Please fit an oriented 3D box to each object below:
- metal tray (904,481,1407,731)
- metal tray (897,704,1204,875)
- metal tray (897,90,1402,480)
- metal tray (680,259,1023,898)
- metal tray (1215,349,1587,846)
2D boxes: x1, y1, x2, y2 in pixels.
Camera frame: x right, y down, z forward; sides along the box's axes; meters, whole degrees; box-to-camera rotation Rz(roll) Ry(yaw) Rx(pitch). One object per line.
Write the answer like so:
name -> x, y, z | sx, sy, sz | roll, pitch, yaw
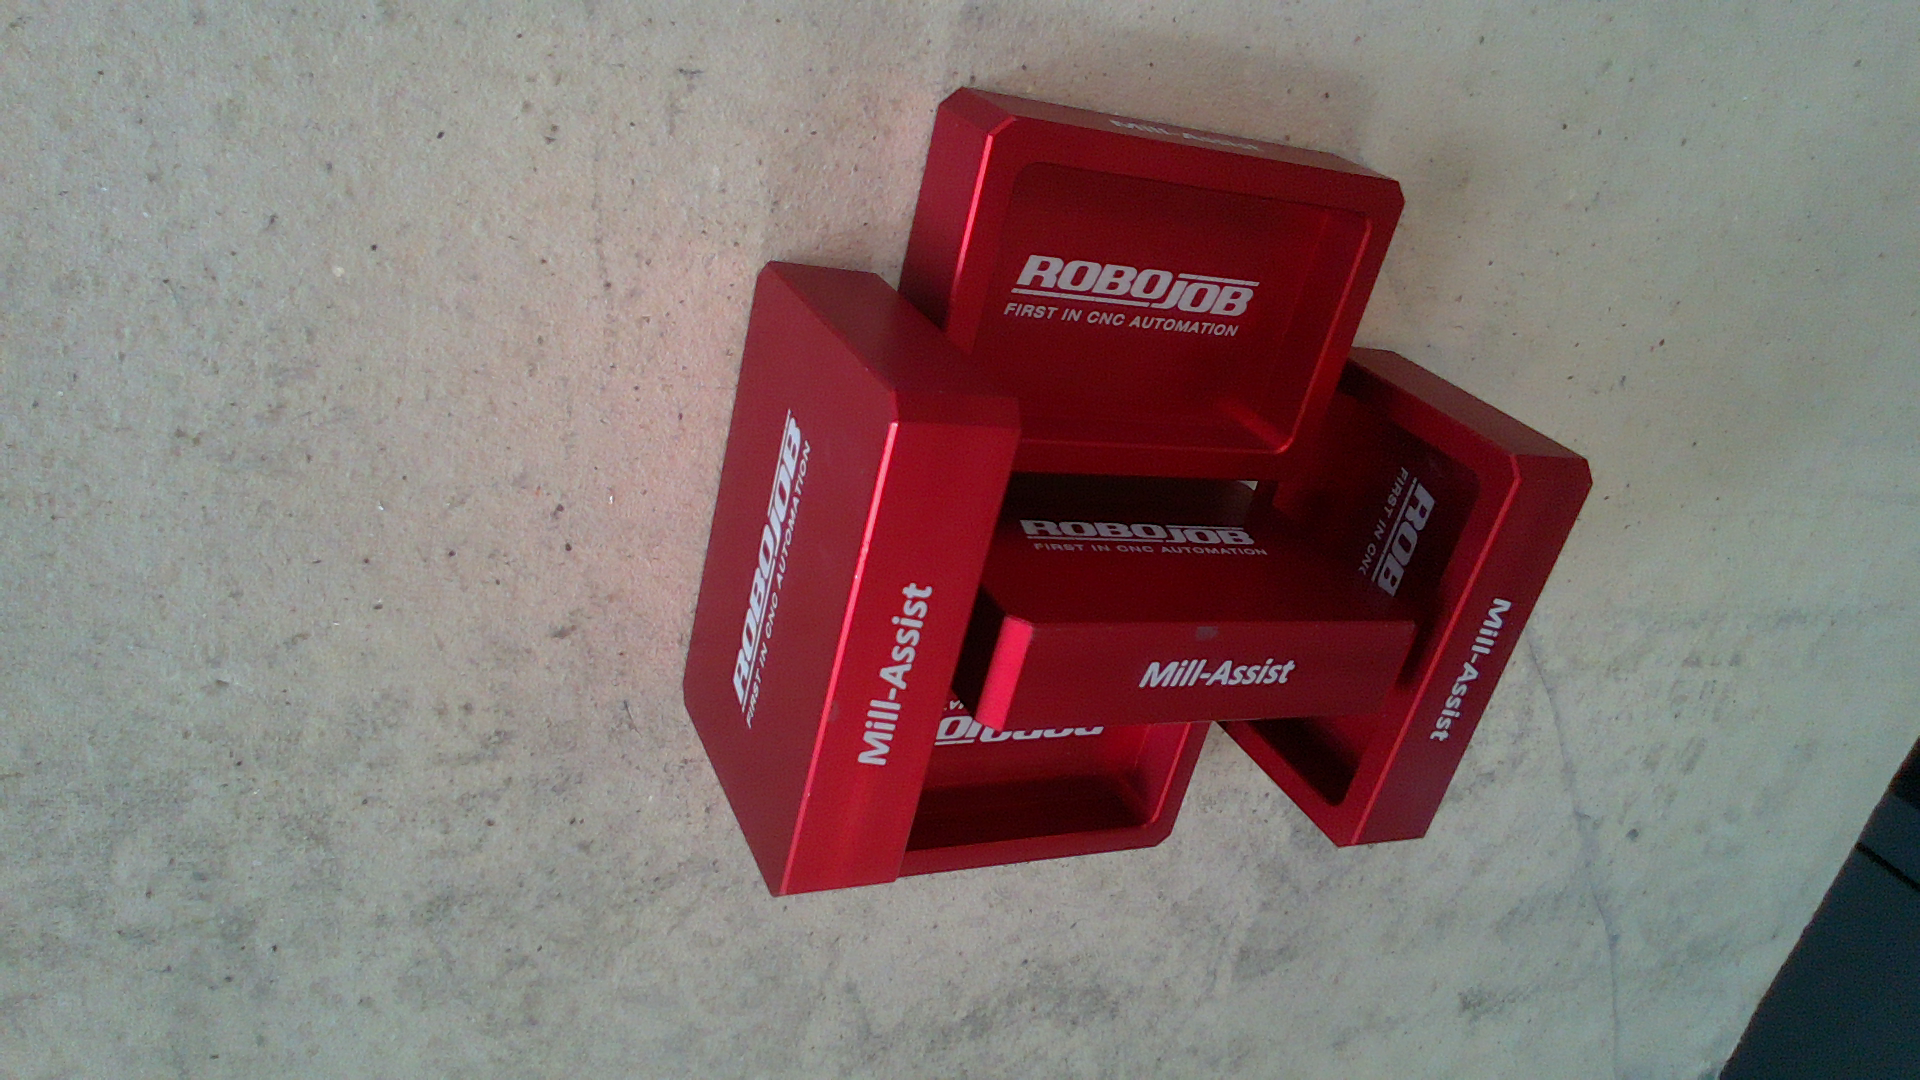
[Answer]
metal tray -> 0.045, 0.011, 0.381 | 0.130, 0.090, 0.030 | 1, 119, -29
metal tray -> 0.016, 0.057, 0.432 | 0.130, 0.030, 0.090 | 0, 117, -29
metal tray -> 0.048, -0.064, 0.374 | 0.130, 0.030, 0.090 | 0, 121, -29
metal tray -> -0.033, 0.009, 0.335 | 0.030, 0.090, 0.130 | 1, 118, -29
metal tray -> 0.124, 0.016, 0.425 | 0.030, 0.090, 0.130 | 1, 118, -29
